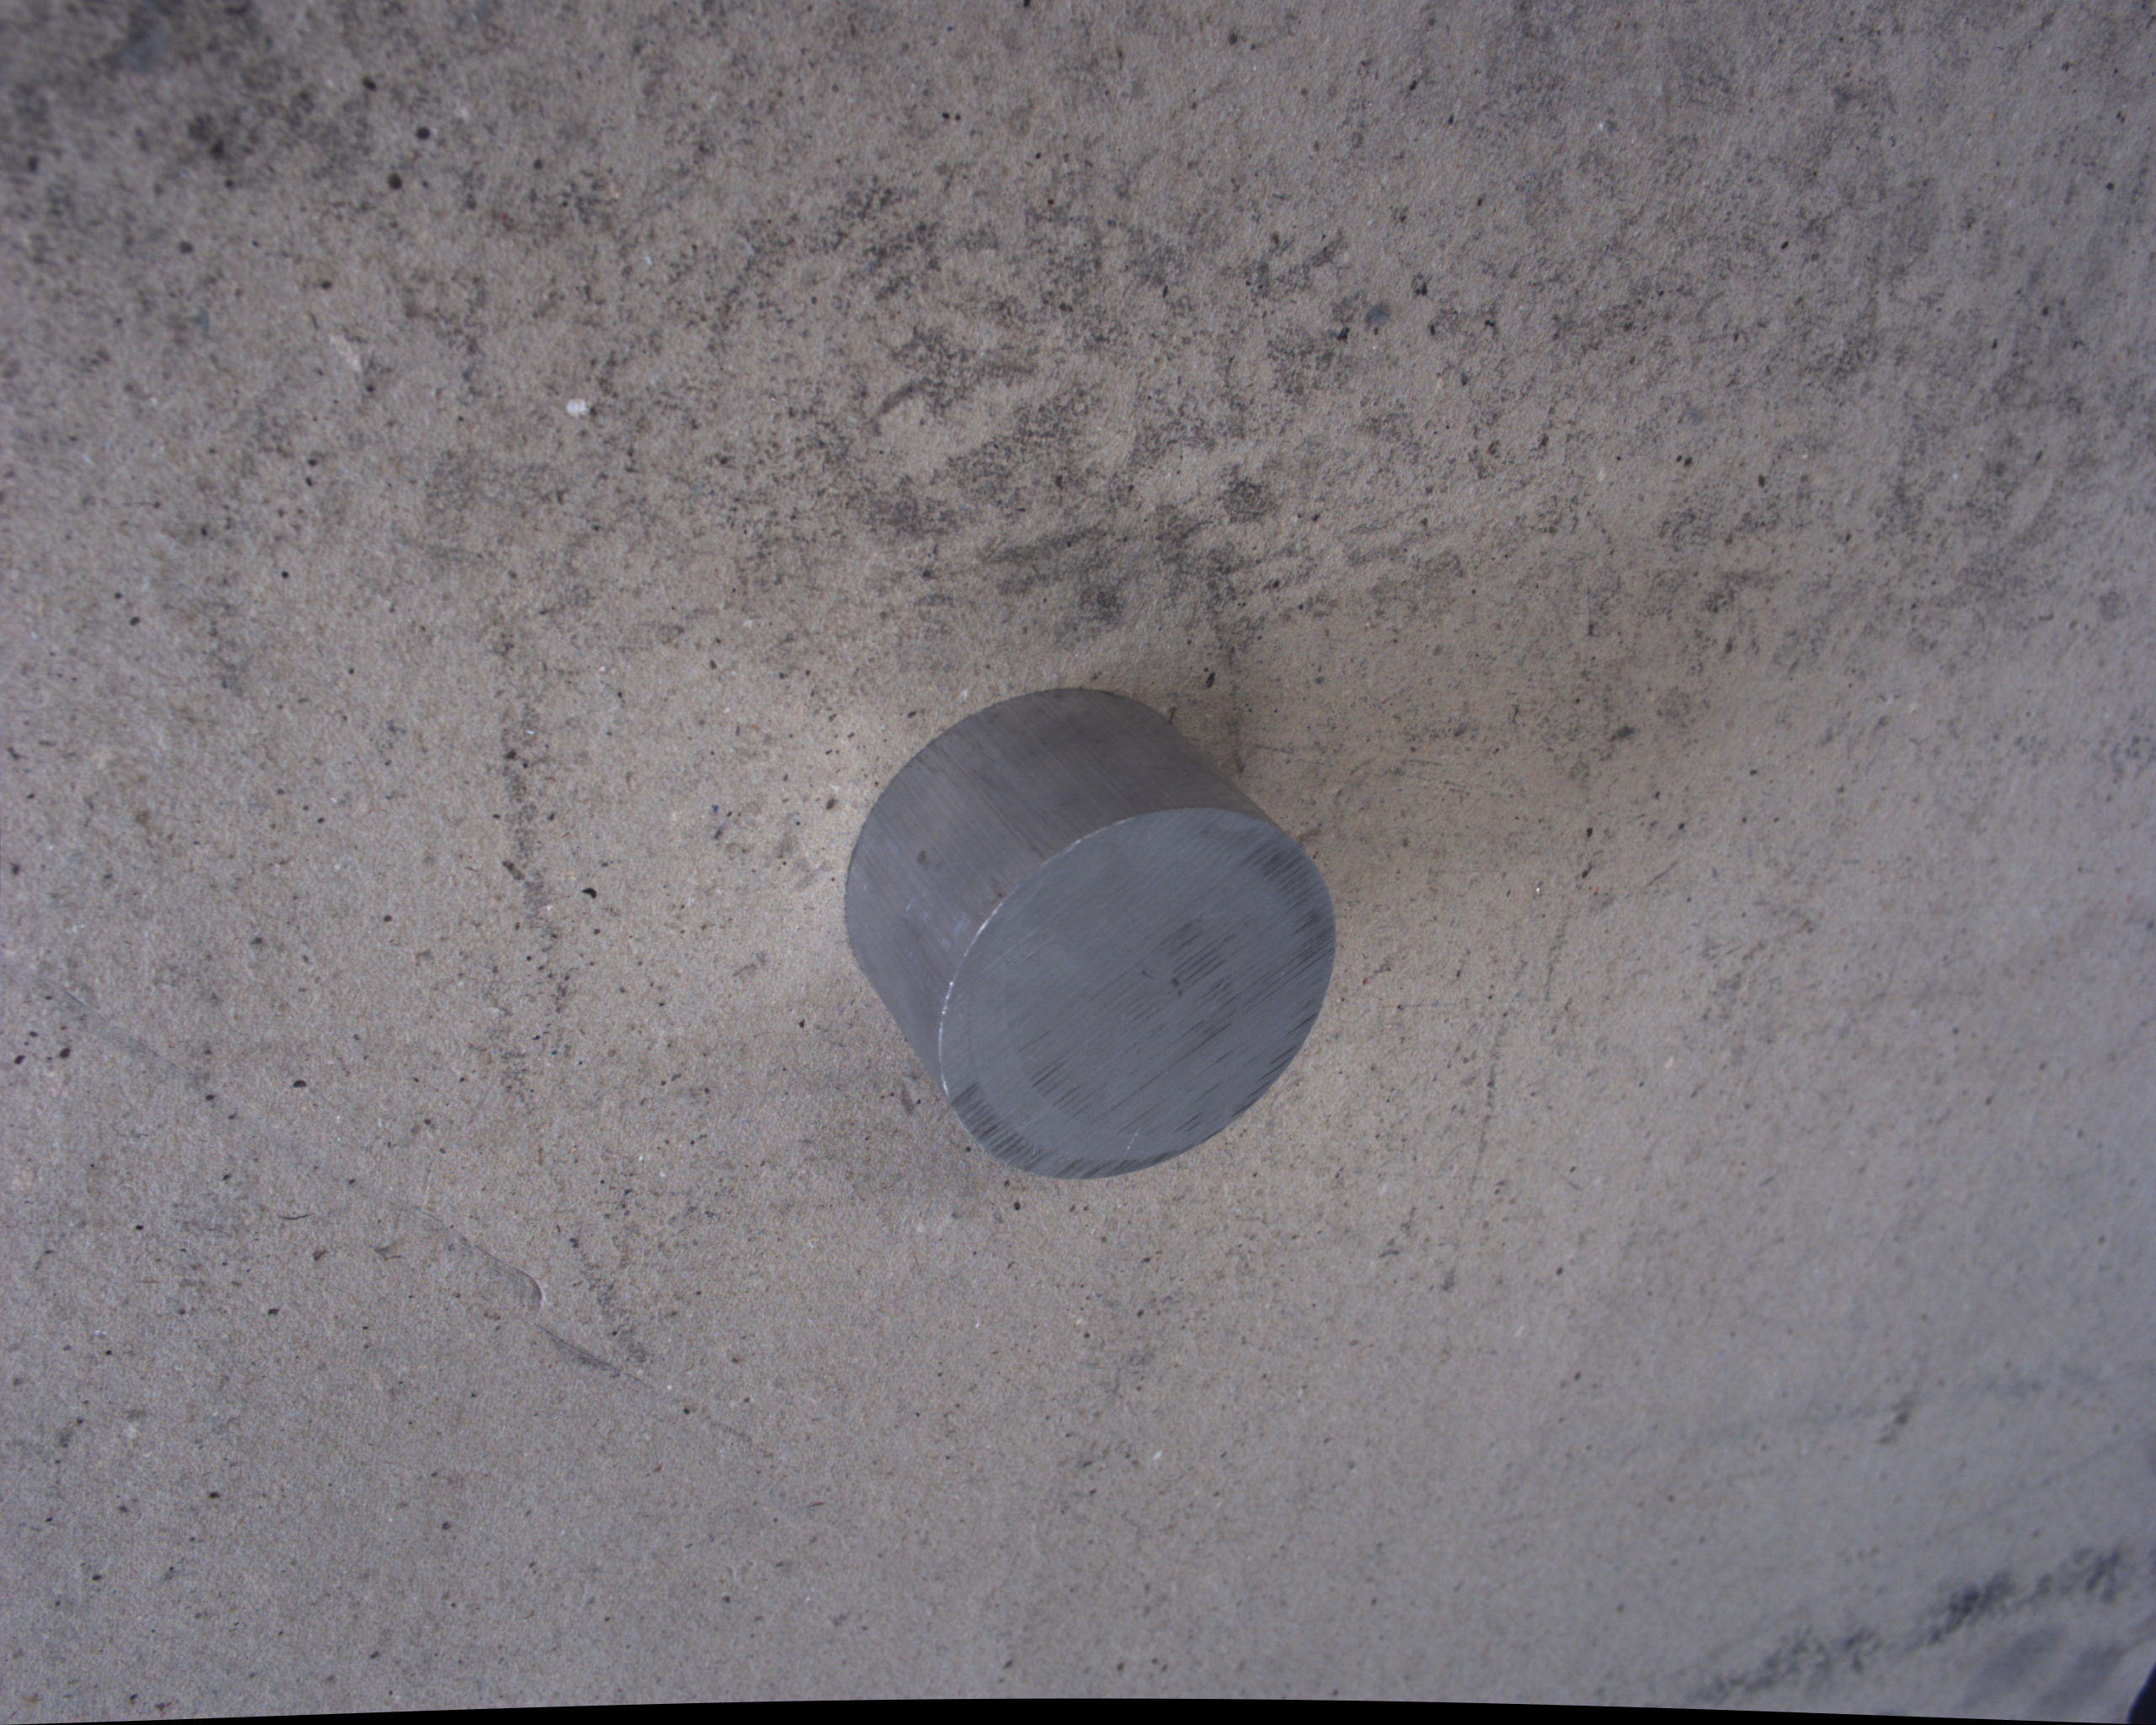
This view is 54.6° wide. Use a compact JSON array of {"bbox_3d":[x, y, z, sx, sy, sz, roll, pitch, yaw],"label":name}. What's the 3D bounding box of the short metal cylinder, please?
[{"bbox_3d":[0.001,0.013,0.400,0.081,0.050,0.080,-14,125,-22],"label":"short metal cylinder"}]
